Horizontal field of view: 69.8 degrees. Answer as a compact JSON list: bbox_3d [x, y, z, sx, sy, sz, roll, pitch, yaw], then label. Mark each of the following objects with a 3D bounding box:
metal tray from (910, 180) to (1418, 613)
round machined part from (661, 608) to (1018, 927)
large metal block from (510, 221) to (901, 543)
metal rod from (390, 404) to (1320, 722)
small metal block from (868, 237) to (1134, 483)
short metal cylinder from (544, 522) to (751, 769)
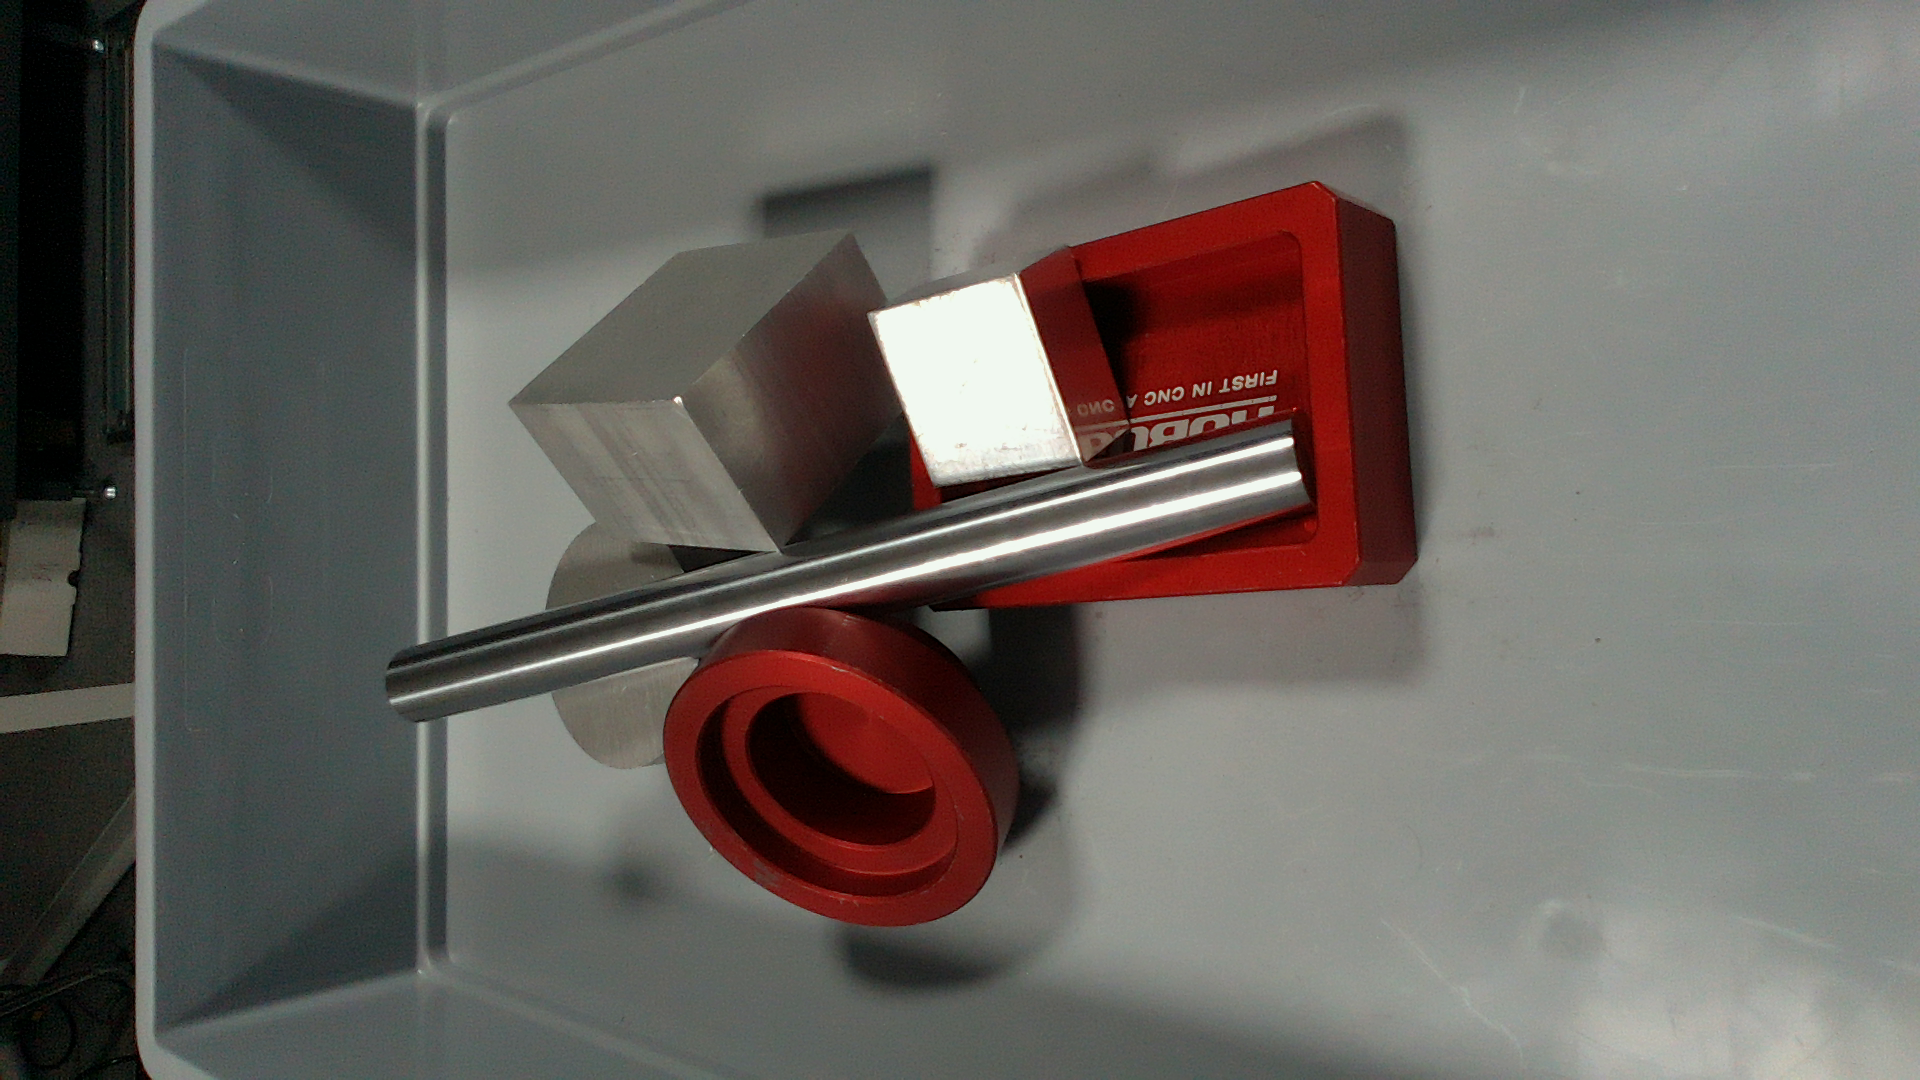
[{"bbox_3d":[0.045,-0.030,0.351,0.129,0.030,0.090,-6,86,40],"label":"metal tray"},{"bbox_3d":[-0.030,0.059,0.387,0.098,0.042,0.098,11,126,16],"label":"round machined part"},{"bbox_3d":[-0.069,-0.046,0.406,0.080,0.080,0.050,4,135,41],"label":"large metal block"},{"bbox_3d":[-0.049,0.014,0.380,0.299,0.025,0.025,-14,81,28],"label":"metal rod"},{"bbox_3d":[0.011,-0.045,0.356,0.050,0.025,0.050,-6,112,40],"label":"small metal block"},{"bbox_3d":[-0.094,0.032,0.455,0.080,0.050,0.080,0,90,40],"label":"short metal cylinder"}]
